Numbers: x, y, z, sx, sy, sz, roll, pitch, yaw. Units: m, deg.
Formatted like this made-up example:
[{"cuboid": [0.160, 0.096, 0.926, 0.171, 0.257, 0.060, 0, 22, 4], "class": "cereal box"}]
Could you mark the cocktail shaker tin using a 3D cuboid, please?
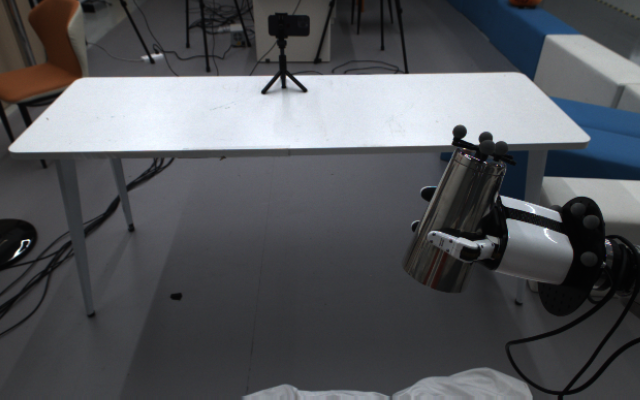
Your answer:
[{"cuboid": [0.179, 0.022, 0.630, 0.093, 0.170, 0.093, 14, 19, -5], "class": "cocktail shaker tin"}]
